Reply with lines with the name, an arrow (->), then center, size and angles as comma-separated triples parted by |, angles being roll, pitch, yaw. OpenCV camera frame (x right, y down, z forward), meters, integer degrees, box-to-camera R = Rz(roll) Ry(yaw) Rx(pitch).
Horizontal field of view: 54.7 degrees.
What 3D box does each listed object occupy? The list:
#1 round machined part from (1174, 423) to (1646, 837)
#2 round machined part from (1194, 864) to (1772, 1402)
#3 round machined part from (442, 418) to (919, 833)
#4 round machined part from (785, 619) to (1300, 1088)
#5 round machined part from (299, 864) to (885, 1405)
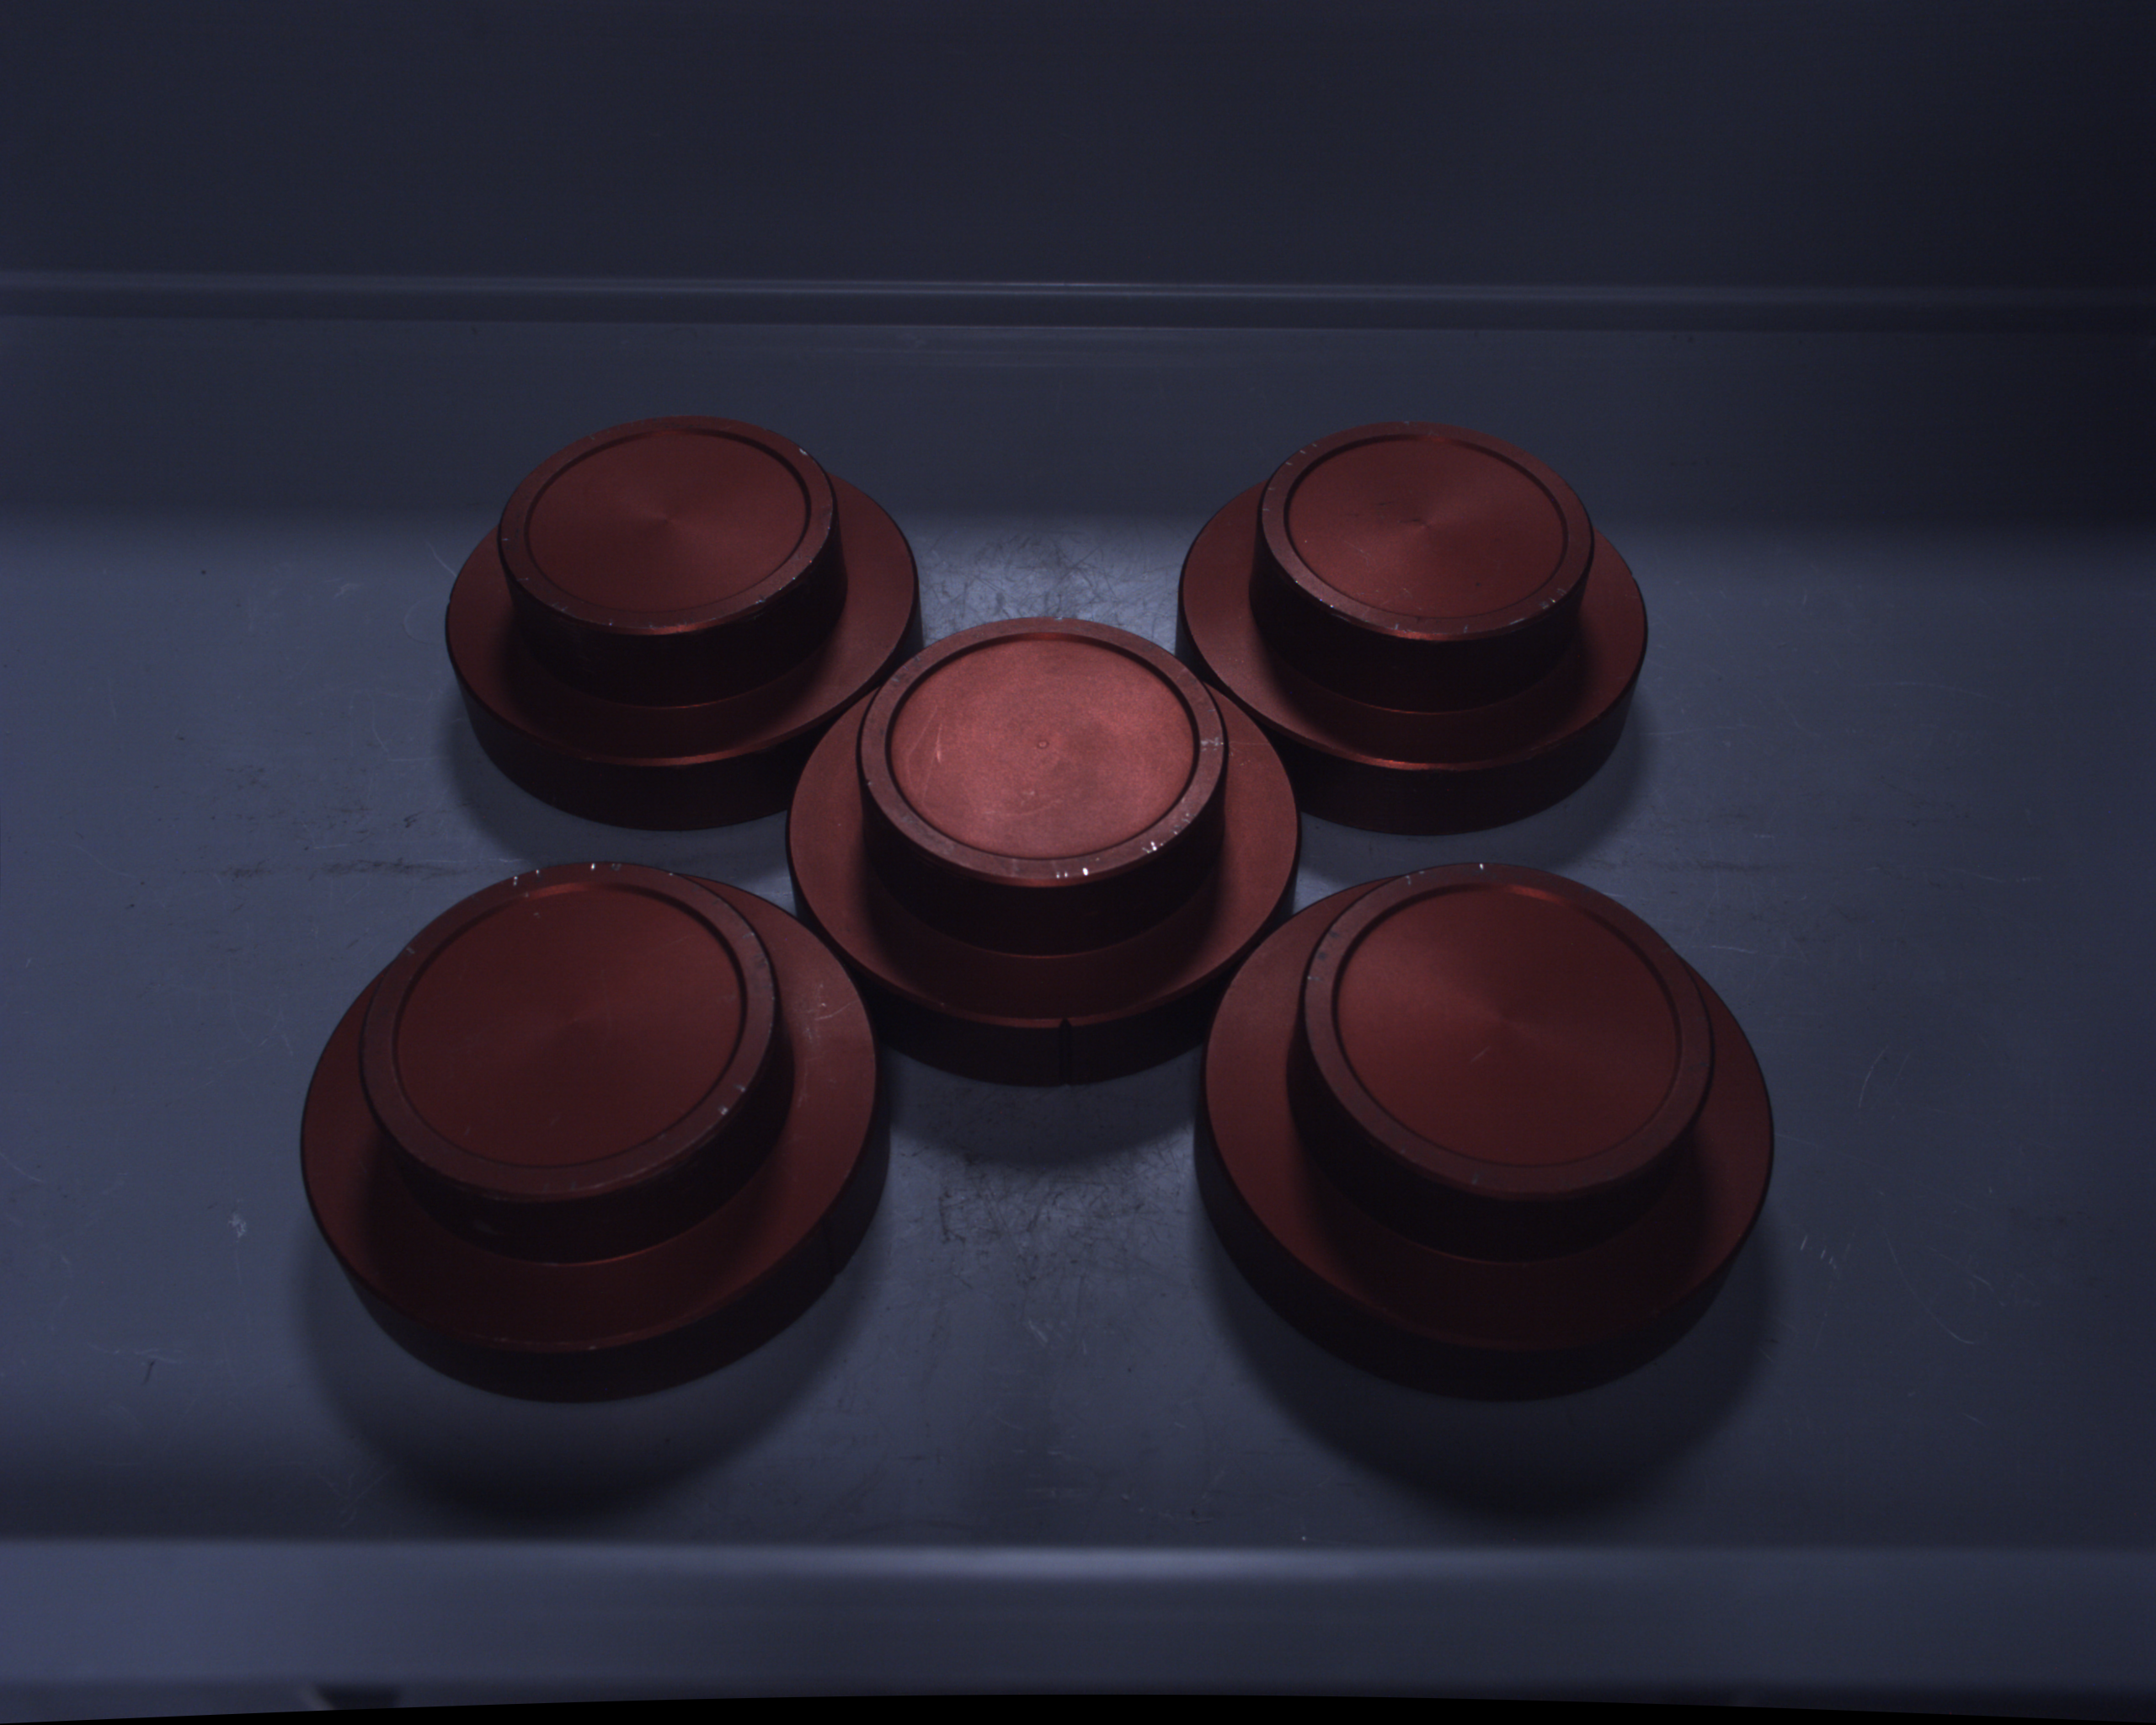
round machined part -> 0.070, -0.055, 0.440 | 0.099, 0.042, 0.098 | 0, 50, 0
round machined part -> 0.070, 0.039, 0.361 | 0.099, 0.042, 0.098 | 0, 50, 0
round machined part -> -0.084, -0.056, 0.438 | 0.099, 0.042, 0.098 | 0, 50, 0
round machined part -> -0.007, -0.009, 0.399 | 0.099, 0.042, 0.098 | 0, 50, 0
round machined part -> -0.083, 0.039, 0.358 | 0.099, 0.042, 0.098 | 0, 50, 0
